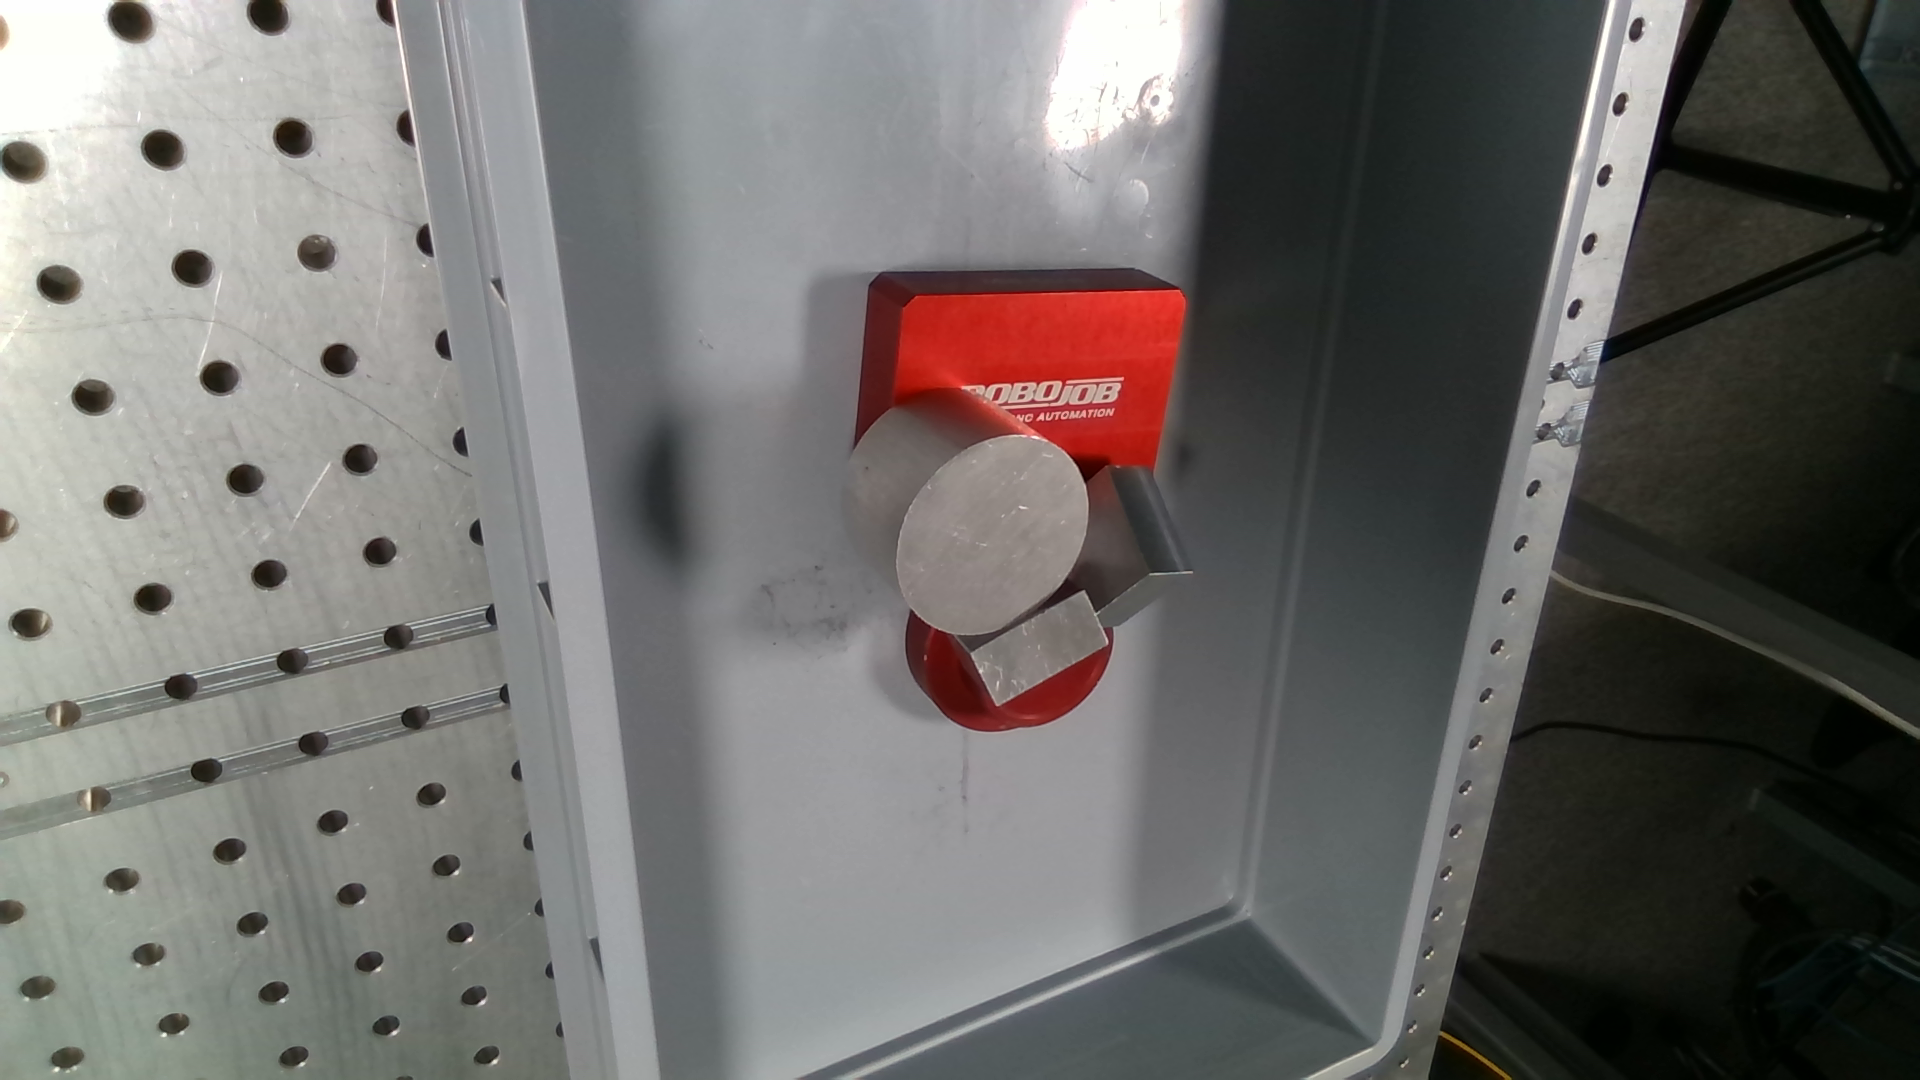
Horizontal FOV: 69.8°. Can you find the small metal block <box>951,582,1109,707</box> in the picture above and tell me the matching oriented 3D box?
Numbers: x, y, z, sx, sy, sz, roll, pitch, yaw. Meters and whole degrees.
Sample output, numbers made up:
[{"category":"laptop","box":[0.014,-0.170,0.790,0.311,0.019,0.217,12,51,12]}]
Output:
[{"category":"small metal block","box":[0.024,0.036,0.547,0.050,0.050,0.025,-29,108,-8]}]

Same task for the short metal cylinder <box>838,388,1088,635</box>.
[{"category":"short metal cylinder","box":[0.001,-0.011,0.519,0.080,0.050,0.080,-14,122,-25]}]

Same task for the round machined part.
[{"category":"round machined part","box":[0.028,0.043,0.609,0.098,0.042,0.098,-14,122,-25]}]

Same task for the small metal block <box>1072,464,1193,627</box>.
[{"category":"small metal block","box":[0.063,0.003,0.570,0.025,0.050,0.050,-2,152,-37]}]

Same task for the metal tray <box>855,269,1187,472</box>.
[{"category":"metal tray","box":[0.024,-0.061,0.555,0.130,0.030,0.090,-7,118,-29]}]
